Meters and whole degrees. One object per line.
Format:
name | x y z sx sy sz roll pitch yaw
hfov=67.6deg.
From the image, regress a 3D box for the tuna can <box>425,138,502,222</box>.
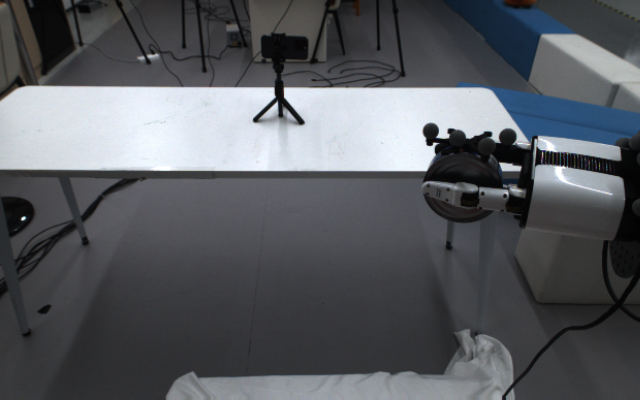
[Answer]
tuna can | 0.164 -0.023 0.549 0.085 0.085 0.034 13 29 15
